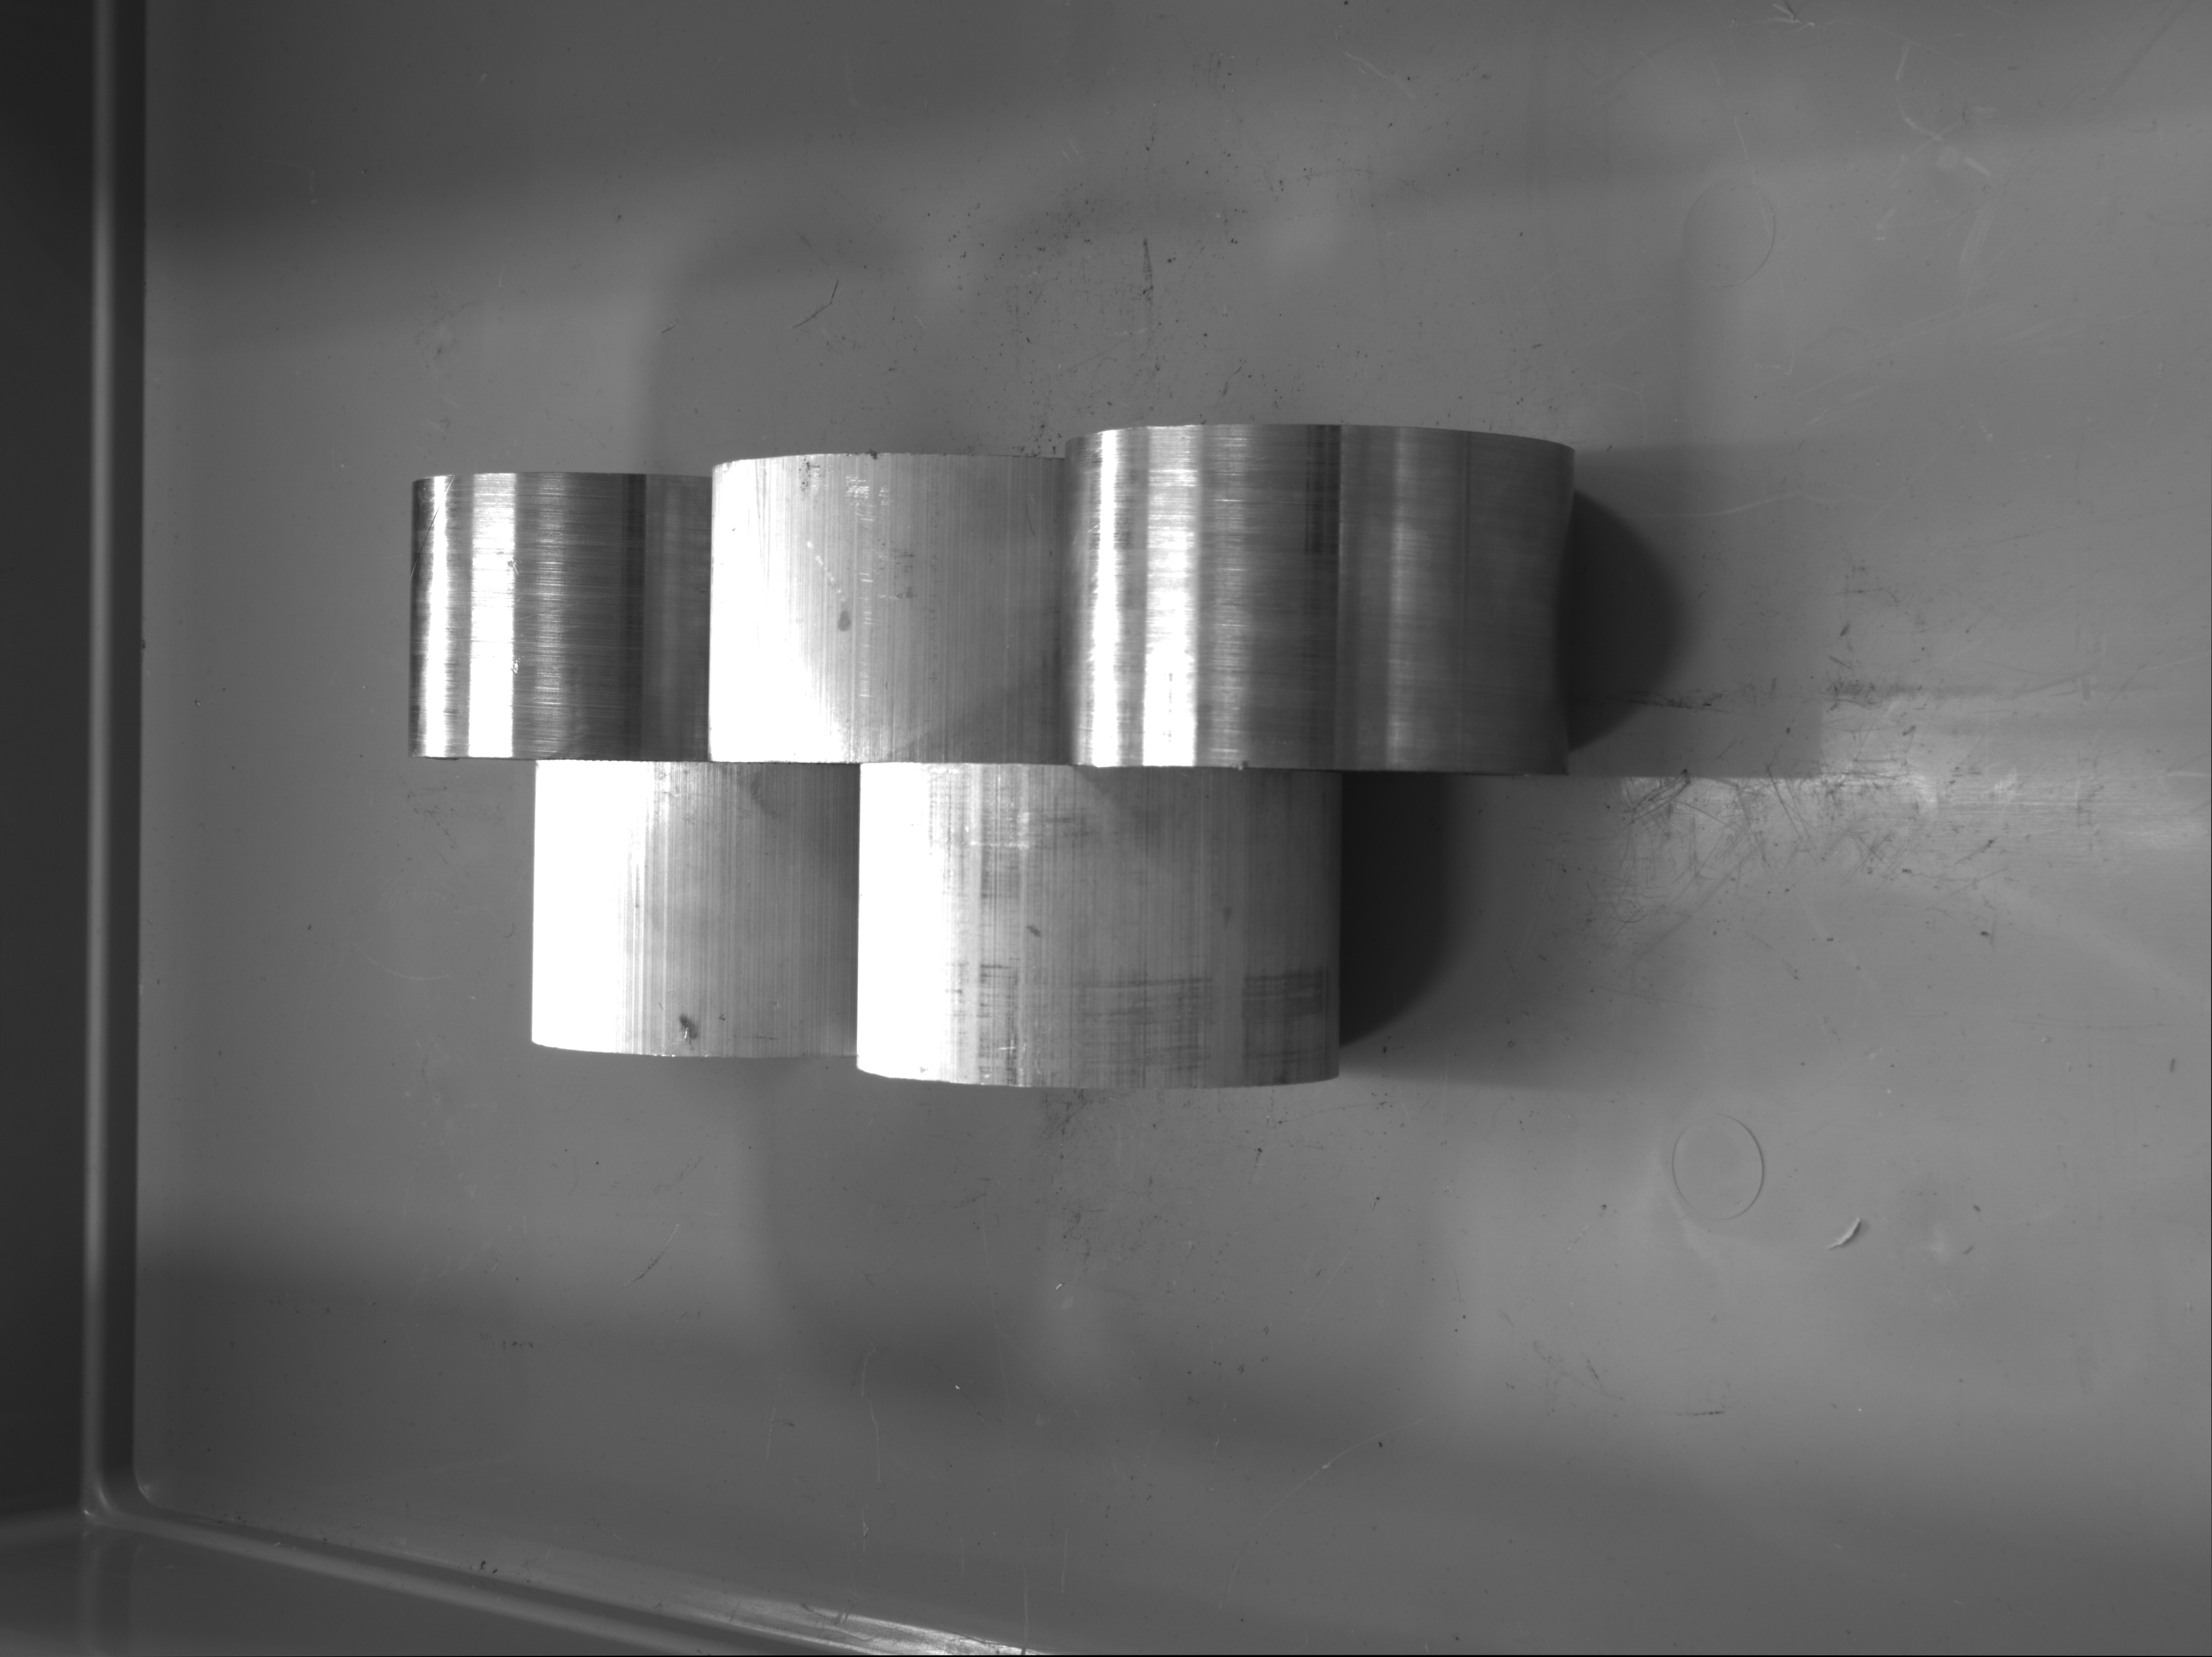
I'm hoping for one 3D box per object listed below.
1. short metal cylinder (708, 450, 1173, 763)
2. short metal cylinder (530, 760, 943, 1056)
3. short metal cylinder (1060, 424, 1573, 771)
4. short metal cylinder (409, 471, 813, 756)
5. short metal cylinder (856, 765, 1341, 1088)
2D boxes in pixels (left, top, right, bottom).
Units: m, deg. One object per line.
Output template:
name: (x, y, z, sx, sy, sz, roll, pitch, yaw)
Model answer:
short metal cylinder: (-0.028, -0.036, 0.631, 0.080, 0.080, 0.050, 1, 90, 40)
short metal cylinder: (-0.063, 0.013, 0.661, 0.080, 0.080, 0.050, 1, 90, 40)
short metal cylinder: (0.033, -0.035, 0.579, 0.080, 0.080, 0.050, 2, 91, 40)
short metal cylinder: (-0.089, -0.038, 0.683, 0.080, 0.080, 0.050, 1, 90, 40)
short metal cylinder: (-0.001, 0.015, 0.608, 0.080, 0.080, 0.050, 1, 90, 40)
